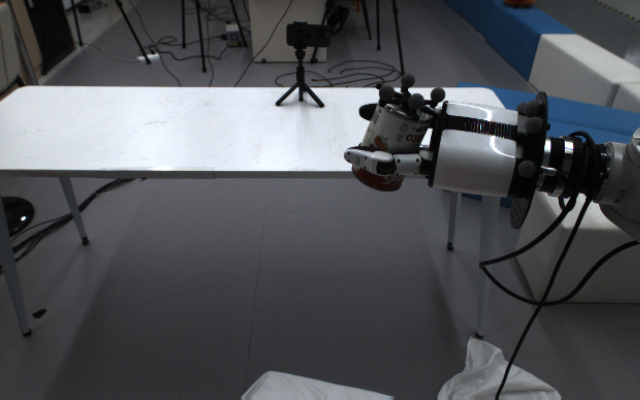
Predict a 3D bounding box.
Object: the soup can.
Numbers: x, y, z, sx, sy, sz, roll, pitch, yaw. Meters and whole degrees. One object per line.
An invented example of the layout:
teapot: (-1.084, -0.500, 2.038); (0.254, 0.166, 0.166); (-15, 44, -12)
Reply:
soup can: (0.088, -0.070, 0.588); (0.067, 0.101, 0.067); (14, 35, -10)
